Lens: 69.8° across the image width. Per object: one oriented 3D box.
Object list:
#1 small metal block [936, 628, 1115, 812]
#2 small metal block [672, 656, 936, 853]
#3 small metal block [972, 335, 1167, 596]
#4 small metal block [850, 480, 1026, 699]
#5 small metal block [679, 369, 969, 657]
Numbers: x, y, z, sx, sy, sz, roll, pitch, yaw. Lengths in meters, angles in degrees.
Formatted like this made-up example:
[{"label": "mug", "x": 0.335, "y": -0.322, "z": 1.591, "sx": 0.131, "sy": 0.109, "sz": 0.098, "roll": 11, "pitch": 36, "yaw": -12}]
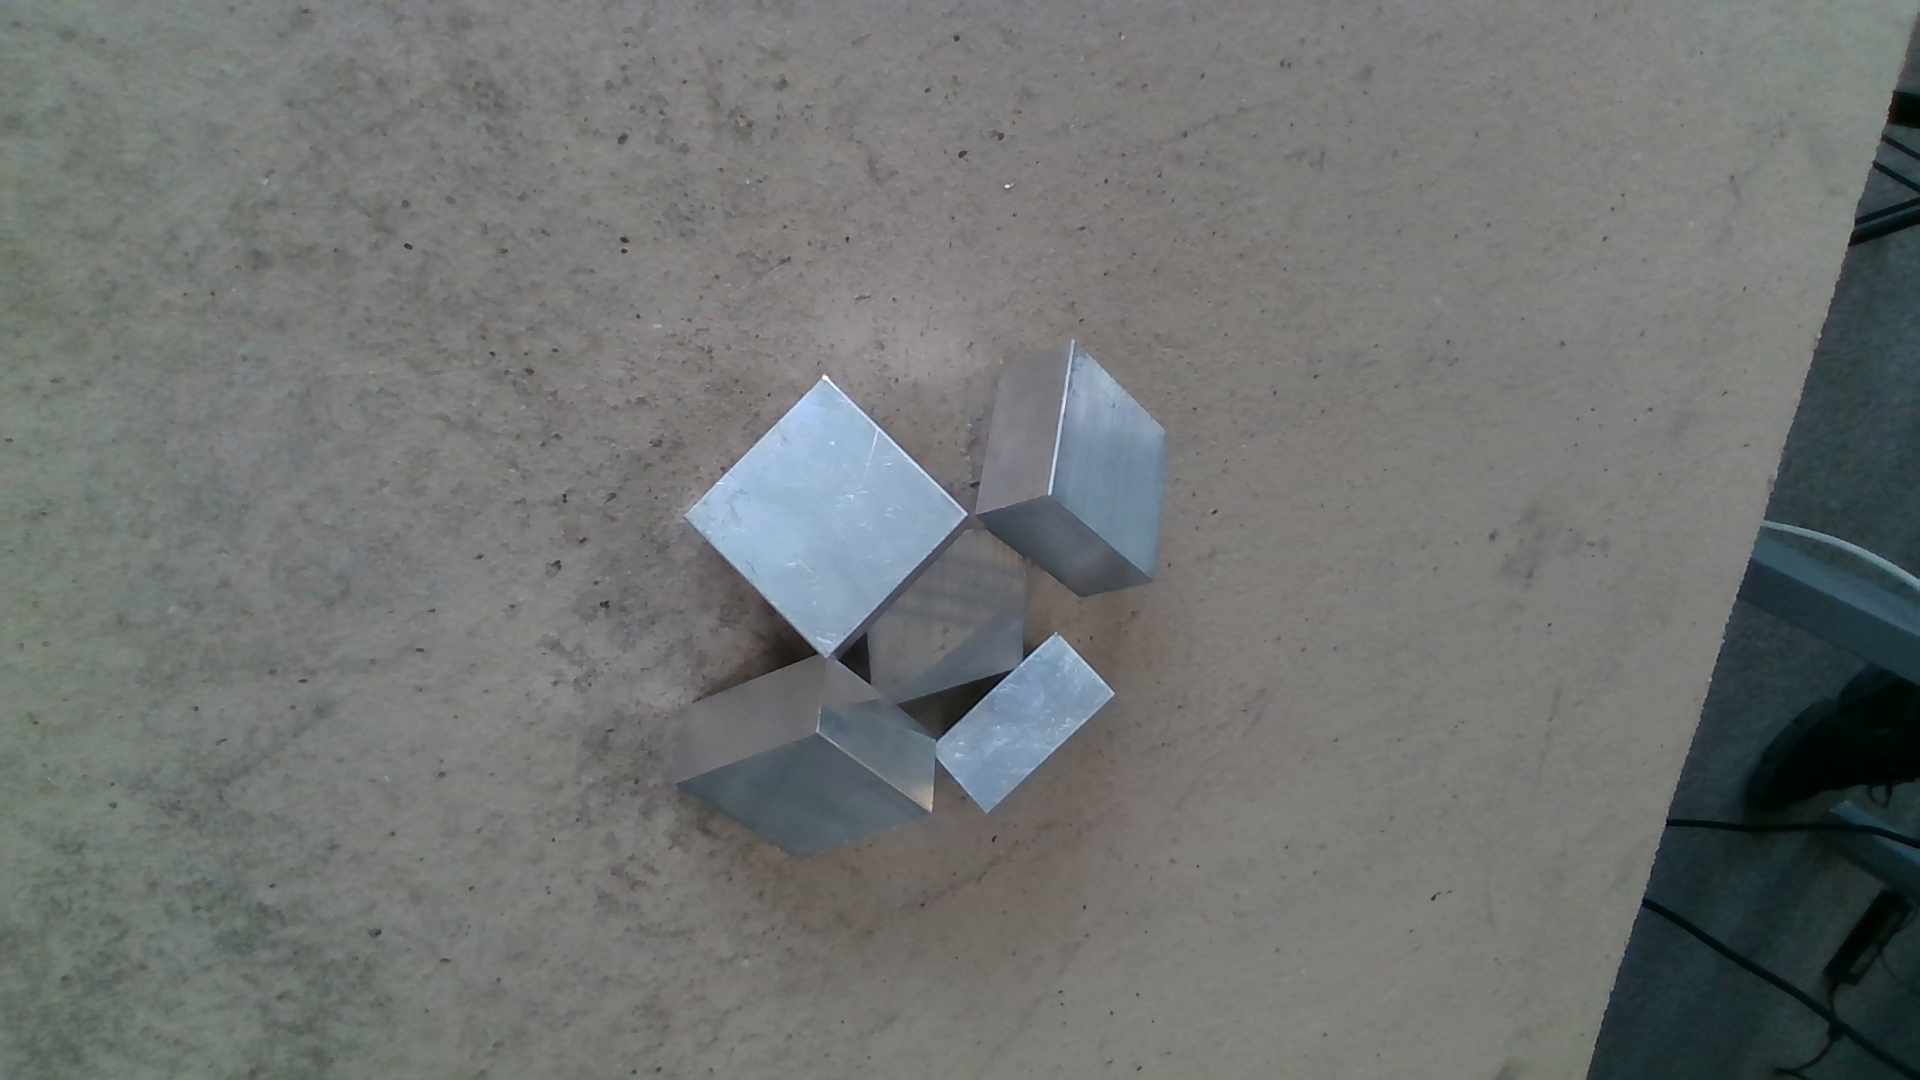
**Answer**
[{"label": "small metal block", "x": 0.019, "y": 0.056, "z": 0.416, "sx": 0.050, "sy": 0.025, "sz": 0.050, "roll": -42, "pitch": 170, "yaw": -5}, {"label": "small metal block", "x": -0.042, "y": 0.060, "z": 0.380, "sx": 0.050, "sy": 0.025, "sz": 0.050, "roll": -22, "pitch": 135, "yaw": 27}, {"label": "small metal block", "x": 0.032, "y": -0.020, "z": 0.383, "sx": 0.050, "sy": 0.025, "sz": 0.050, "roll": 37, "pitch": 51, "yaw": -40}, {"label": "small metal block", "x": -0.009, "y": 0.015, "z": 0.392, "sx": 0.050, "sy": 0.025, "sz": 0.050, "roll": -15, "pitch": 123, "yaw": -25}, {"label": "small metal block", "x": -0.033, "y": -0.006, "z": 0.349, "sx": 0.050, "sy": 0.025, "sz": 0.050, "roll": 44, "pitch": 87, "yaw": 4}]
